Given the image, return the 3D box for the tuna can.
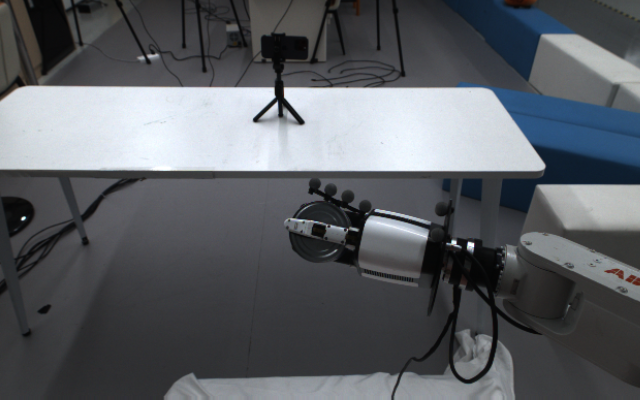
[{"bbox_3d":[0.004,0.044,0.675,0.085,0.085,0.034,13,-6,16],"label":"tuna can"}]
